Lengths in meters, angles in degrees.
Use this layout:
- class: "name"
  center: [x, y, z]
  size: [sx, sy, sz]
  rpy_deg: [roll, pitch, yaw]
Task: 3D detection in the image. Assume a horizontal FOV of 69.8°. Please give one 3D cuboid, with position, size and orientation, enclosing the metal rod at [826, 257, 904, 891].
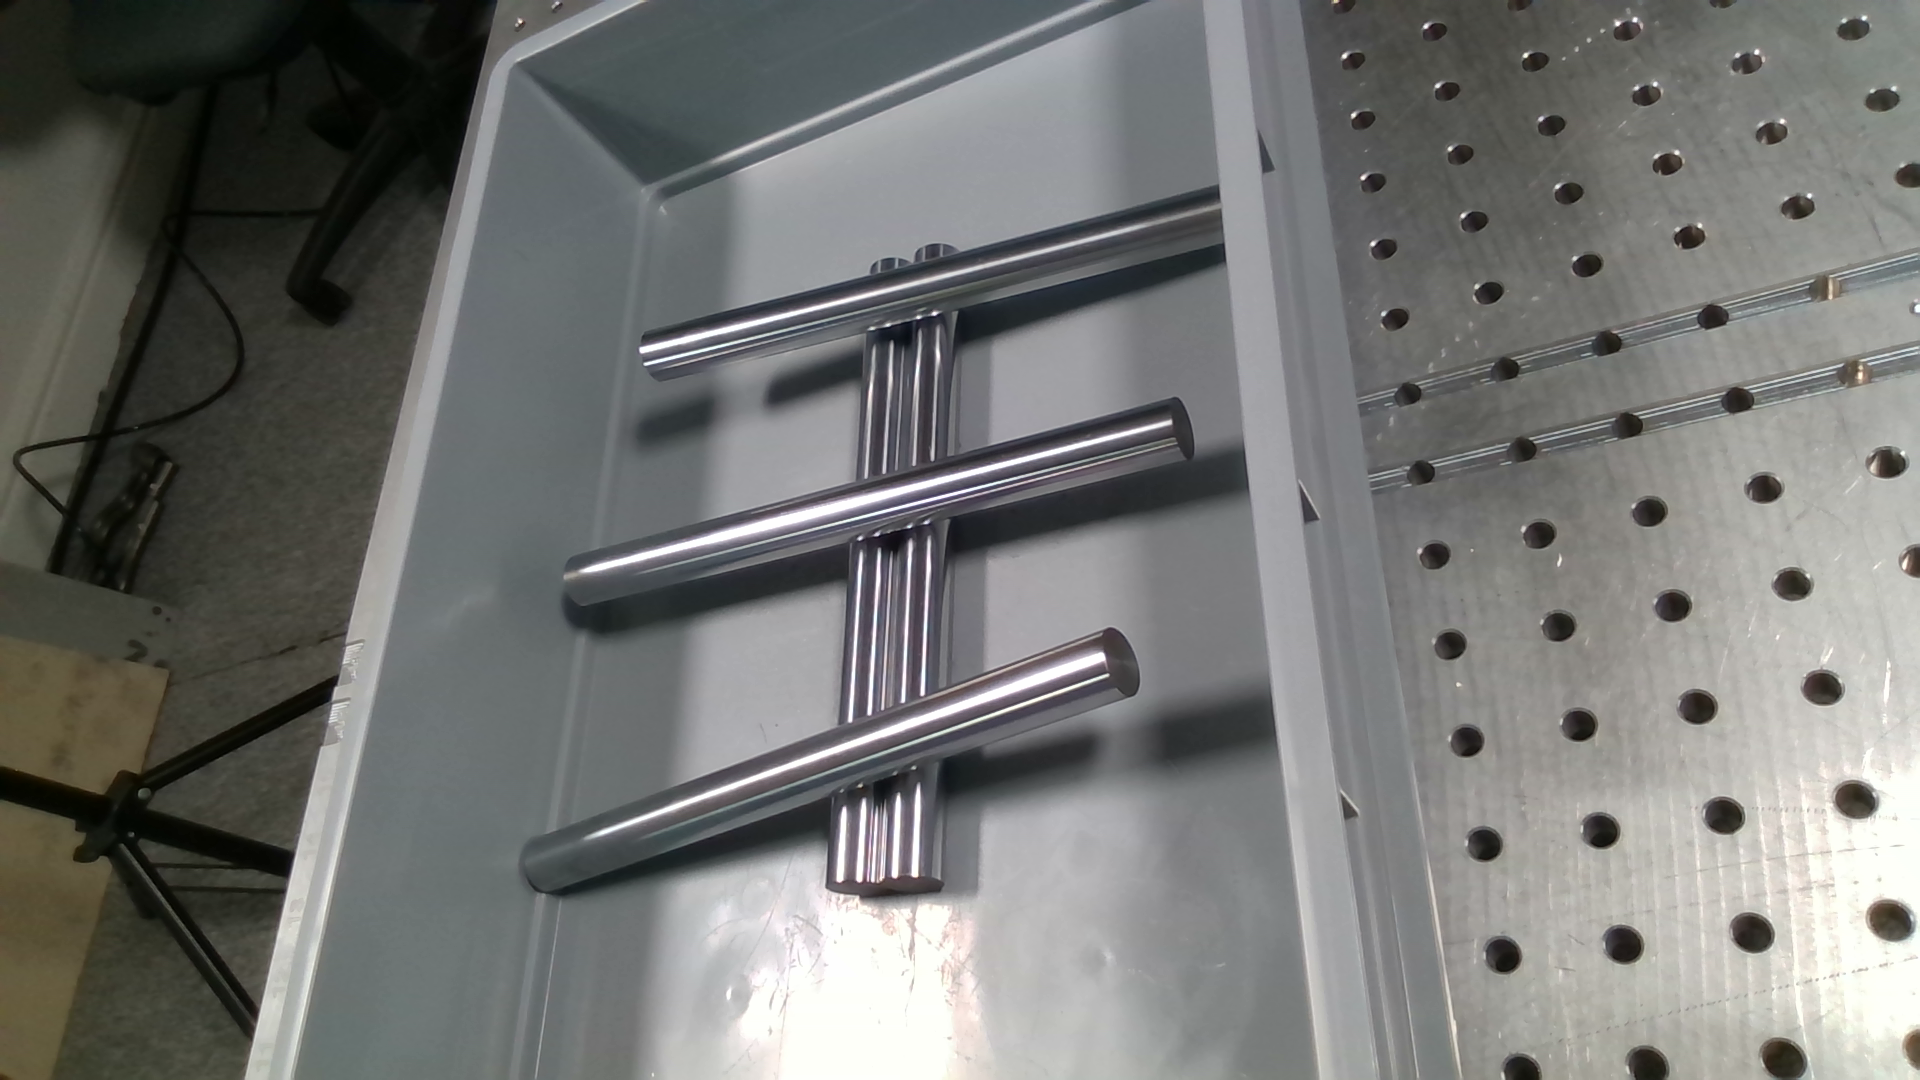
- class: "metal rod"
  center: [-0.036, 0.003, 0.606]
  size: [0.025, 0.025, 0.299]
  rpy_deg: [-13, 60, 26]

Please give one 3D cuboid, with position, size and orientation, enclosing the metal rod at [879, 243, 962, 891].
- class: "metal rod"
  center: [-0.015, -0.002, 0.595]
  size: [0.025, 0.025, 0.299]
  rpy_deg: [-13, 60, 26]

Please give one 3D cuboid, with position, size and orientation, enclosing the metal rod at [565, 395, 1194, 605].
- class: "metal rod"
  center: [-0.047, -0.012, 0.587]
  size: [0.300, 0.025, 0.025]
  rpy_deg: [-13, 59, 26]

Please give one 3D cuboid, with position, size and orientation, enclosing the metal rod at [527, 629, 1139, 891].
- class: "metal rod"
  center: [-0.065, 0.094, 0.546]
  size: [0.300, 0.025, 0.025]
  rpy_deg: [-23, 55, 30]

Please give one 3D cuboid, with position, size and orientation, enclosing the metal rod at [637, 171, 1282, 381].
- class: "metal rod"
  center: [-0.008, -0.115, 0.619]
  size: [0.300, 0.025, 0.025]
  rpy_deg: [-11, 60, 17]
